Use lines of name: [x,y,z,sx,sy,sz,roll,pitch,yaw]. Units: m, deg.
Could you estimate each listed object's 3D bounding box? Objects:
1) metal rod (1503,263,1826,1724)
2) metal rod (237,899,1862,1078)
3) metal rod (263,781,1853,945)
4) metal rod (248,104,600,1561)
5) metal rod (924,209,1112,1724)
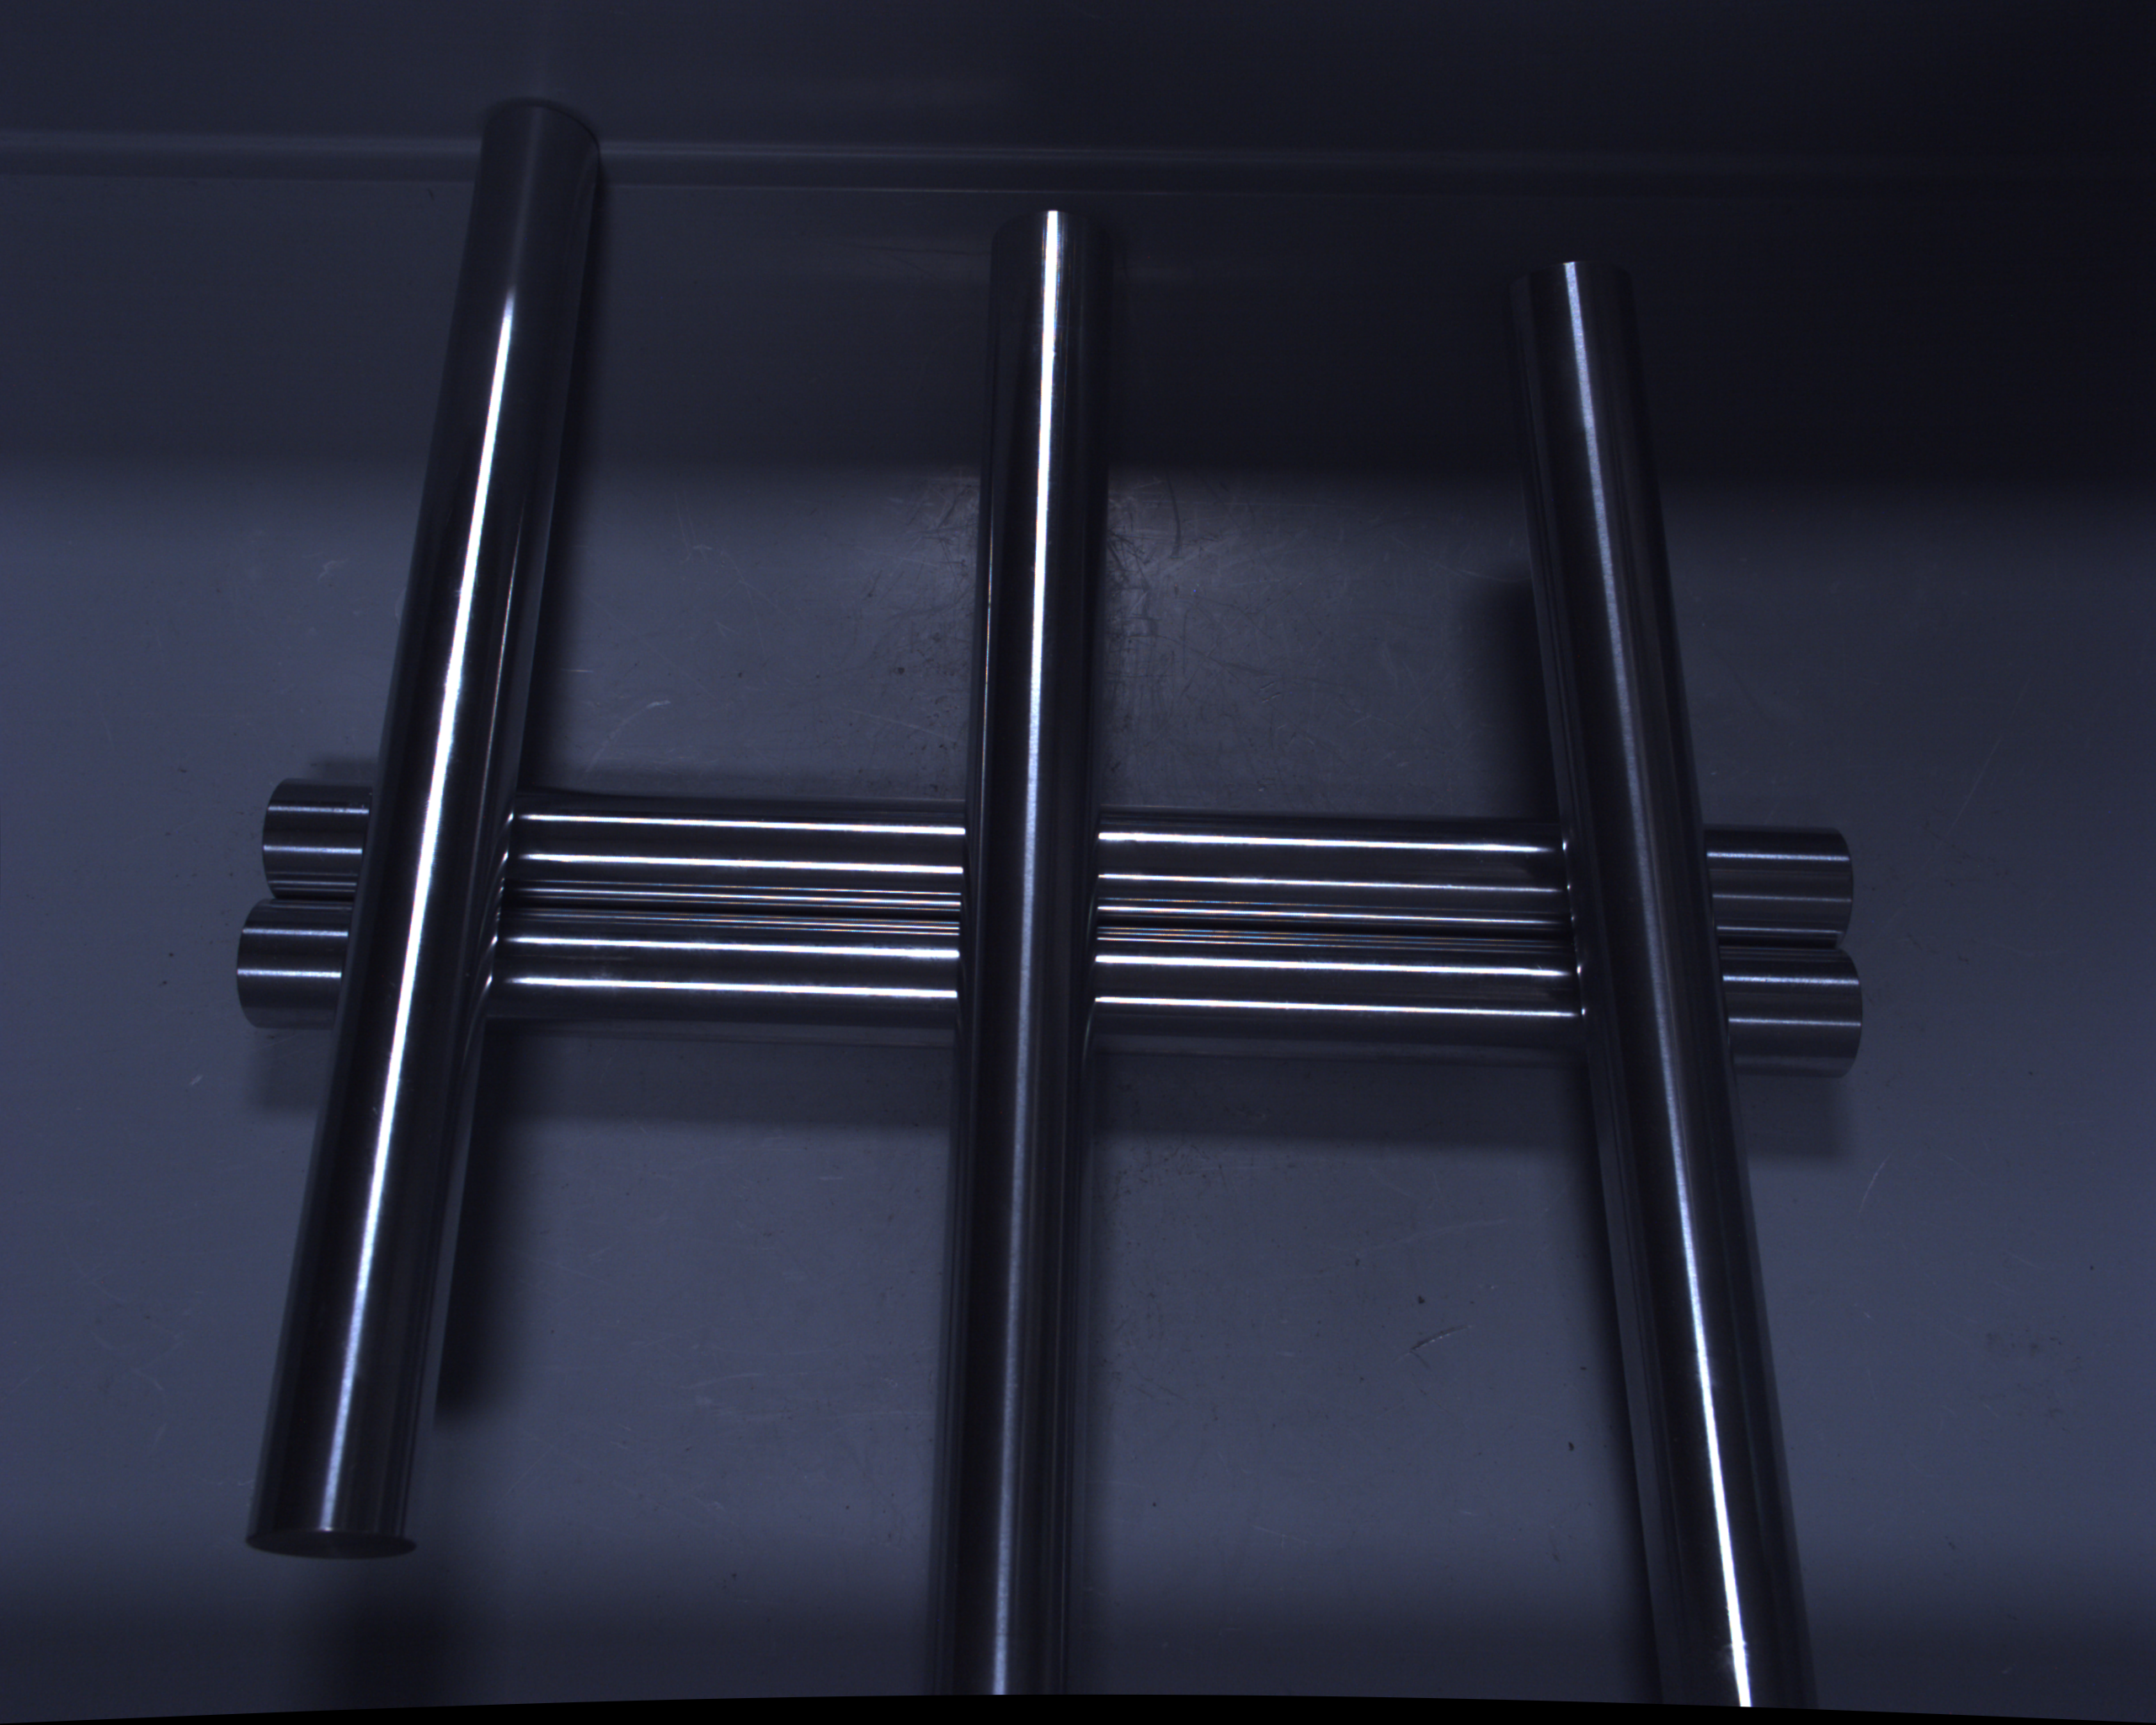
metal rod: [0.105,0.036,0.373,0.025,0.025,0.298,-4,78,-2]
metal rod: [-0.005,0.024,0.400,0.302,0.025,0.025,2,70,0]
metal rod: [-0.004,0.001,0.408,0.302,0.025,0.025,2,70,0]
metal rod: [-0.116,-0.026,0.391,0.025,0.025,0.299,-1,62,-1]
metal rod: [-0.009,0.014,0.377,0.025,0.025,0.299,1,70,0]
